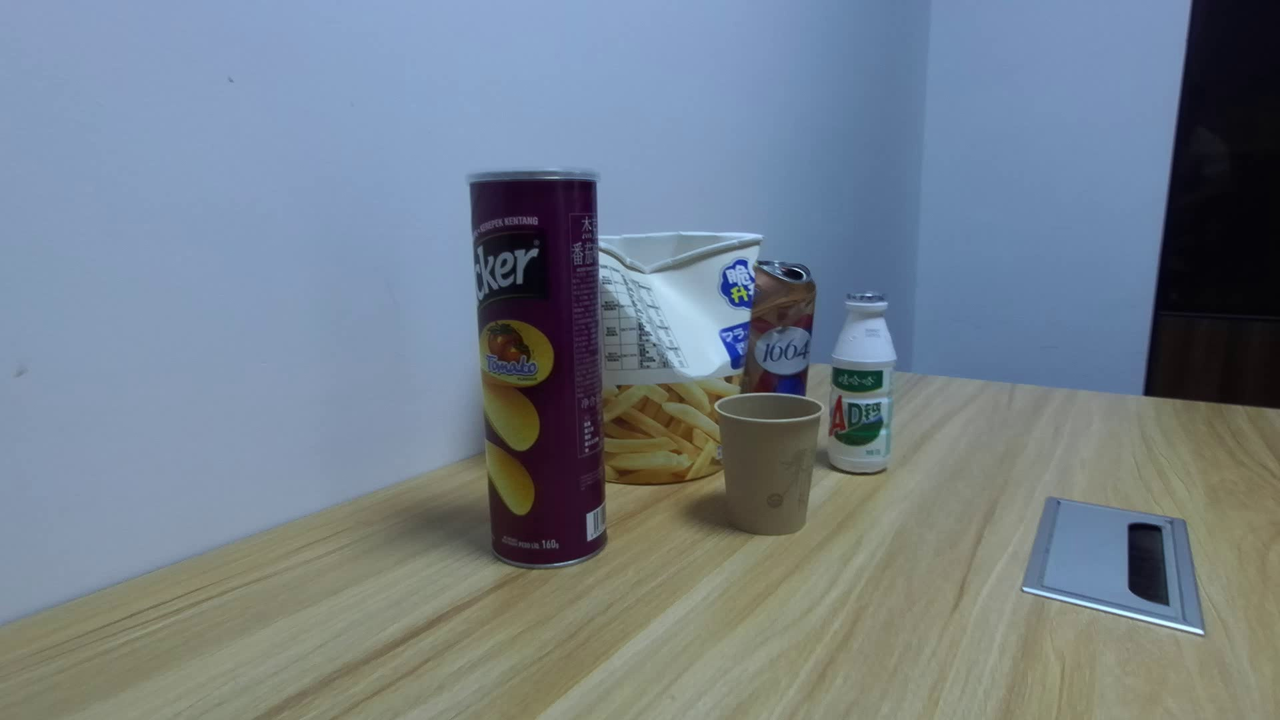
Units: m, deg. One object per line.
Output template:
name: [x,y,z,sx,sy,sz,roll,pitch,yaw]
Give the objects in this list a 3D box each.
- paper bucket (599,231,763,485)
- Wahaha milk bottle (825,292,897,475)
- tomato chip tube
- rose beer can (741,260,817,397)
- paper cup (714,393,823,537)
paper bucket: [0.000,-0.008,0.604,0.168,0.202,0.163,4,13,34]
Wahaha milk bottle: [0.184,0.018,0.586,0.053,0.147,0.053,0,10,0]
tomato chip tube: [-0.060,0.006,0.442,0.078,0.233,0.078,-1,11,1]
rose beer can: [0.132,-0.012,0.698,0.069,0.168,0.069,6,15,18]
paper cup: [0.088,0.072,0.486,0.075,0.082,0.075,0,10,0]
